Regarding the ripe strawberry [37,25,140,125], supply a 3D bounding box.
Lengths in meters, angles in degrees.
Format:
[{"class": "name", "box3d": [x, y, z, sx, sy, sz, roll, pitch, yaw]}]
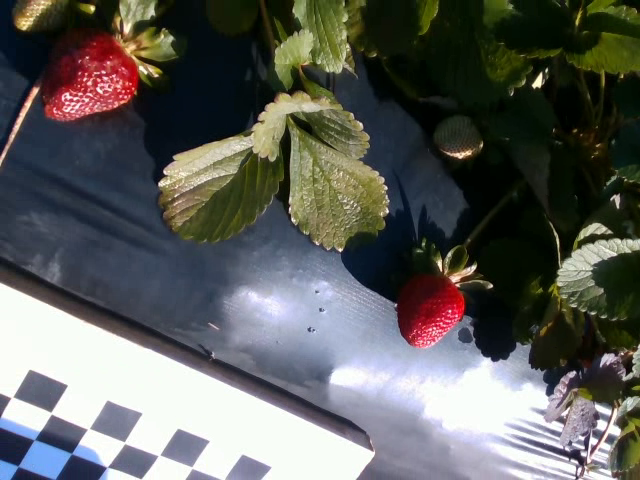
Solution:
[{"class": "ripe strawberry", "box3d": [-0.104, -0.070, 0.247, 0.041, 0.053, 0.043, 42, -32, -25]}]

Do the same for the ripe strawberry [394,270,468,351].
[{"class": "ripe strawberry", "box3d": [0.057, 0.043, 0.310, 0.043, 0.043, 0.050, 2, 36, 38]}]
